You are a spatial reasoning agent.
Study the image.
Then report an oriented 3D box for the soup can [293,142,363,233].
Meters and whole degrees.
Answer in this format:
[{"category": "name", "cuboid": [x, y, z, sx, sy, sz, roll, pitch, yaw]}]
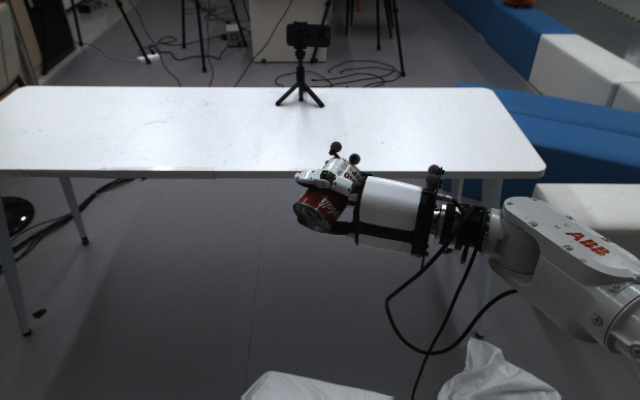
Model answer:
[{"category": "soup can", "cuboid": [0.014, -0.009, 0.743, 0.067, 0.067, 0.101, 23, 61, 27]}]
